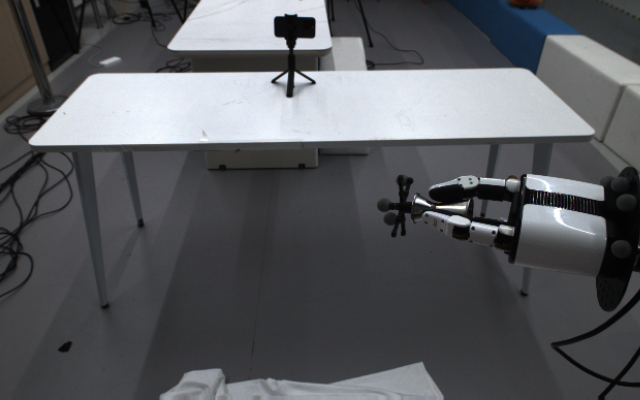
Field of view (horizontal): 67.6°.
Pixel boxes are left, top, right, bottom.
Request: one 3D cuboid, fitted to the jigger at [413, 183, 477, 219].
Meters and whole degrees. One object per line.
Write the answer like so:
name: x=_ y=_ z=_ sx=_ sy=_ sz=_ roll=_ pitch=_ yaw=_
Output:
jigger: x=0.159 y=0.008 z=0.602 sx=0.071 sy=0.043 sz=0.043 roll=6 pitch=33 yaw=26
